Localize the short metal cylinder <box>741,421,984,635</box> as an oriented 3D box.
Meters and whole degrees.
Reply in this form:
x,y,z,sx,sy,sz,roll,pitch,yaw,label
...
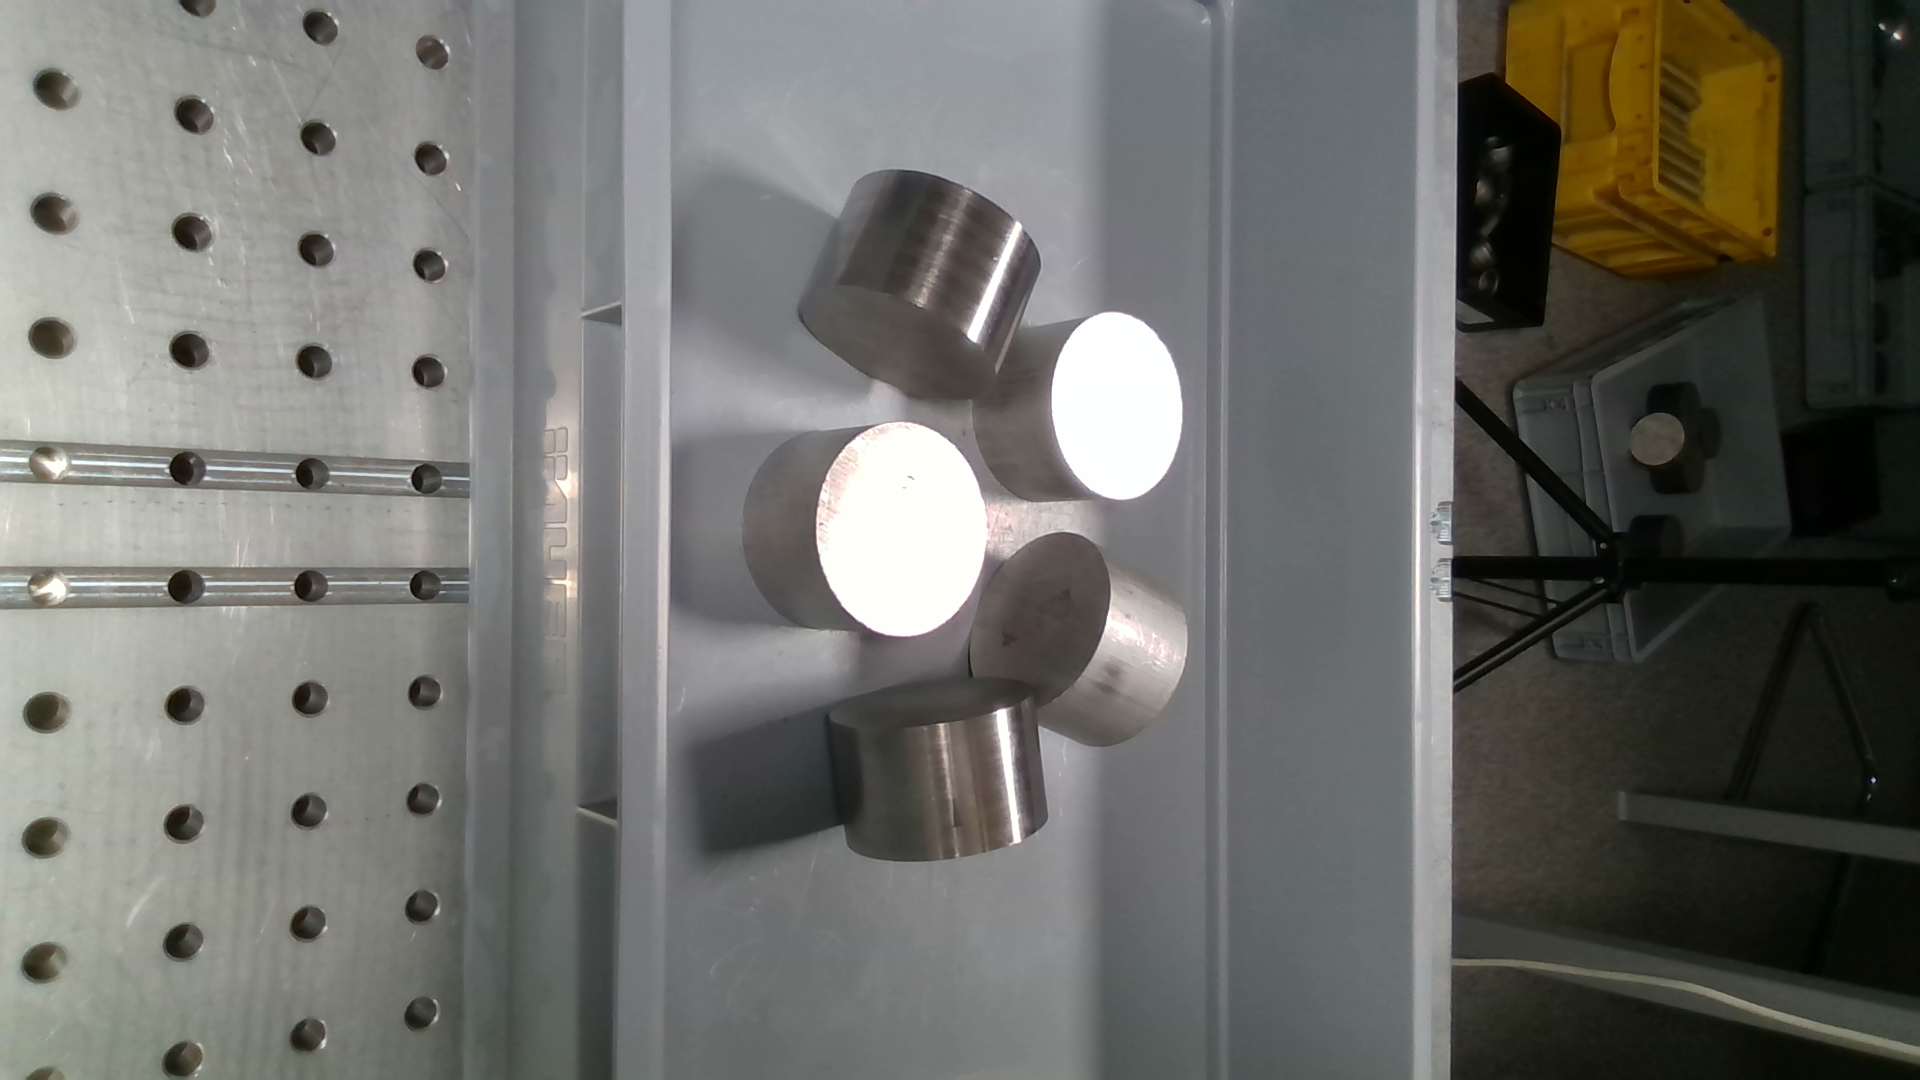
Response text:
x,y,z,sx,sy,sz,roll,pitch,yaw,label
-0.037,-0.004,0.534,0.080,0.050,0.080,0,90,-40,short metal cylinder

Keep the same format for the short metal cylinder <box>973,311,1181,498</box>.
x,y,z,sx,sy,sz,roll,pitch,yaw,label
0.052,-0.058,0.609,0.080,0.050,0.080,0,90,-40,short metal cylinder

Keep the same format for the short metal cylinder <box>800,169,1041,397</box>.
x,y,z,sx,sy,sz,roll,pitch,yaw,label
-0.015,-0.097,0.532,0.080,0.080,0.050,34,69,-35,short metal cylinder

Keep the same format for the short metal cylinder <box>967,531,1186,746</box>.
x,y,z,sx,sy,sz,roll,pitch,yaw,label
0.049,0.043,0.589,0.050,0.080,0.080,27,73,-37,short metal cylinder

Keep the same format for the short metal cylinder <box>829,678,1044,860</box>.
x,y,z,sx,sy,sz,roll,pitch,yaw,label
-0.008,0.087,0.539,0.080,0.080,0.050,-12,97,-40,short metal cylinder
